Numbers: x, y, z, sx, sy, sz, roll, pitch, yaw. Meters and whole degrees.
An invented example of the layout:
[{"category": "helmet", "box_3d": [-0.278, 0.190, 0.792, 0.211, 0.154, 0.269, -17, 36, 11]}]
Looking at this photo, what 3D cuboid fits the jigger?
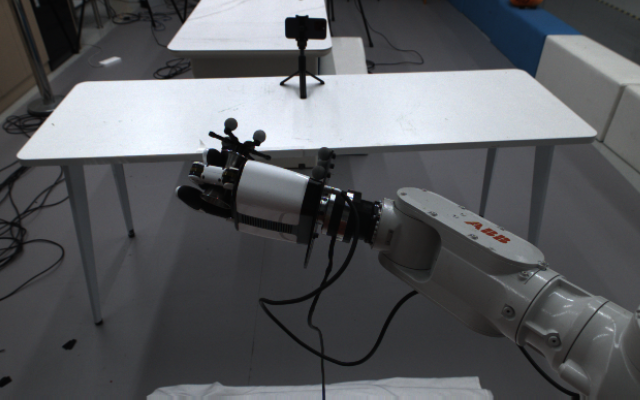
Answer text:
[{"category": "jigger", "box_3d": [-0.124, -0.029, 0.638, 0.043, 0.043, 0.071, 15, 70, 18]}]
